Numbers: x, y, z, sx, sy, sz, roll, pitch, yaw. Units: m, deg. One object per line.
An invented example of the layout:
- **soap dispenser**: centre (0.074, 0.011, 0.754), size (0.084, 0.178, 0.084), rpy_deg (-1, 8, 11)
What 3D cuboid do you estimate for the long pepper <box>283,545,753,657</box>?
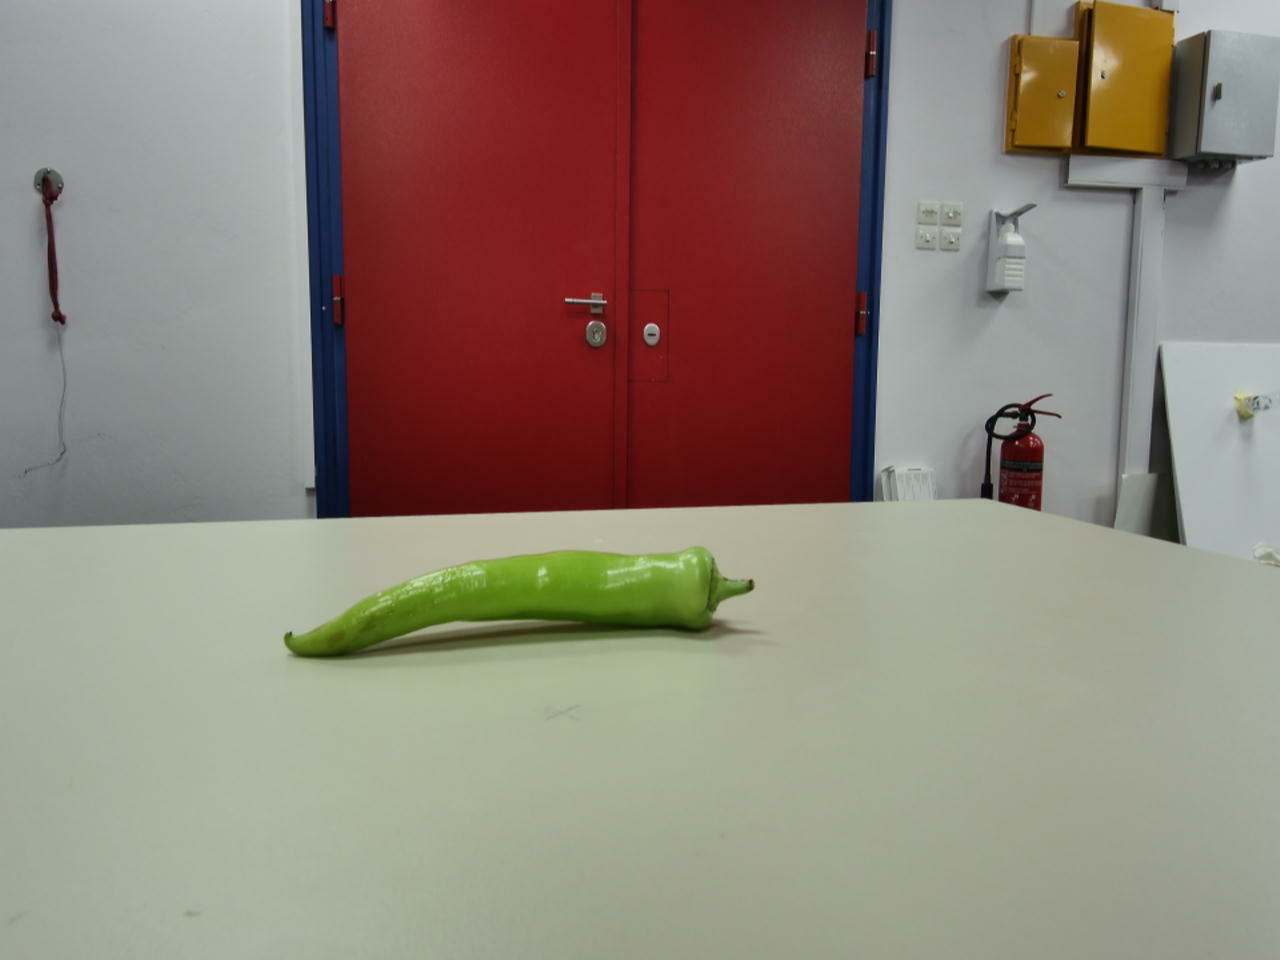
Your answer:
- **long pepper**: centre (-0.049, 0.050, 0.433), size (0.197, 0.038, 0.047), rpy_deg (-1, 4, -11)
